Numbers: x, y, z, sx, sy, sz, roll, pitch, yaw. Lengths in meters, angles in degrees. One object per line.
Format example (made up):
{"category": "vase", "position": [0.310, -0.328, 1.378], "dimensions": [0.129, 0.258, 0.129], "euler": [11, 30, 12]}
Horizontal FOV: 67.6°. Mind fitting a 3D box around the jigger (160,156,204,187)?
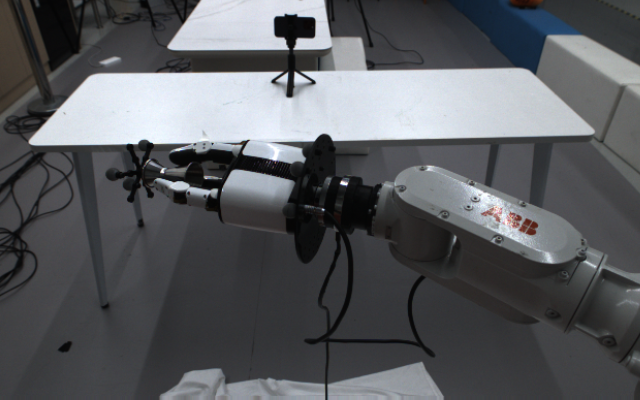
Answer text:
{"category": "jigger", "position": [-0.187, -0.038, 0.644], "dimensions": [0.071, 0.043, 0.043], "euler": [6, 34, 18]}
